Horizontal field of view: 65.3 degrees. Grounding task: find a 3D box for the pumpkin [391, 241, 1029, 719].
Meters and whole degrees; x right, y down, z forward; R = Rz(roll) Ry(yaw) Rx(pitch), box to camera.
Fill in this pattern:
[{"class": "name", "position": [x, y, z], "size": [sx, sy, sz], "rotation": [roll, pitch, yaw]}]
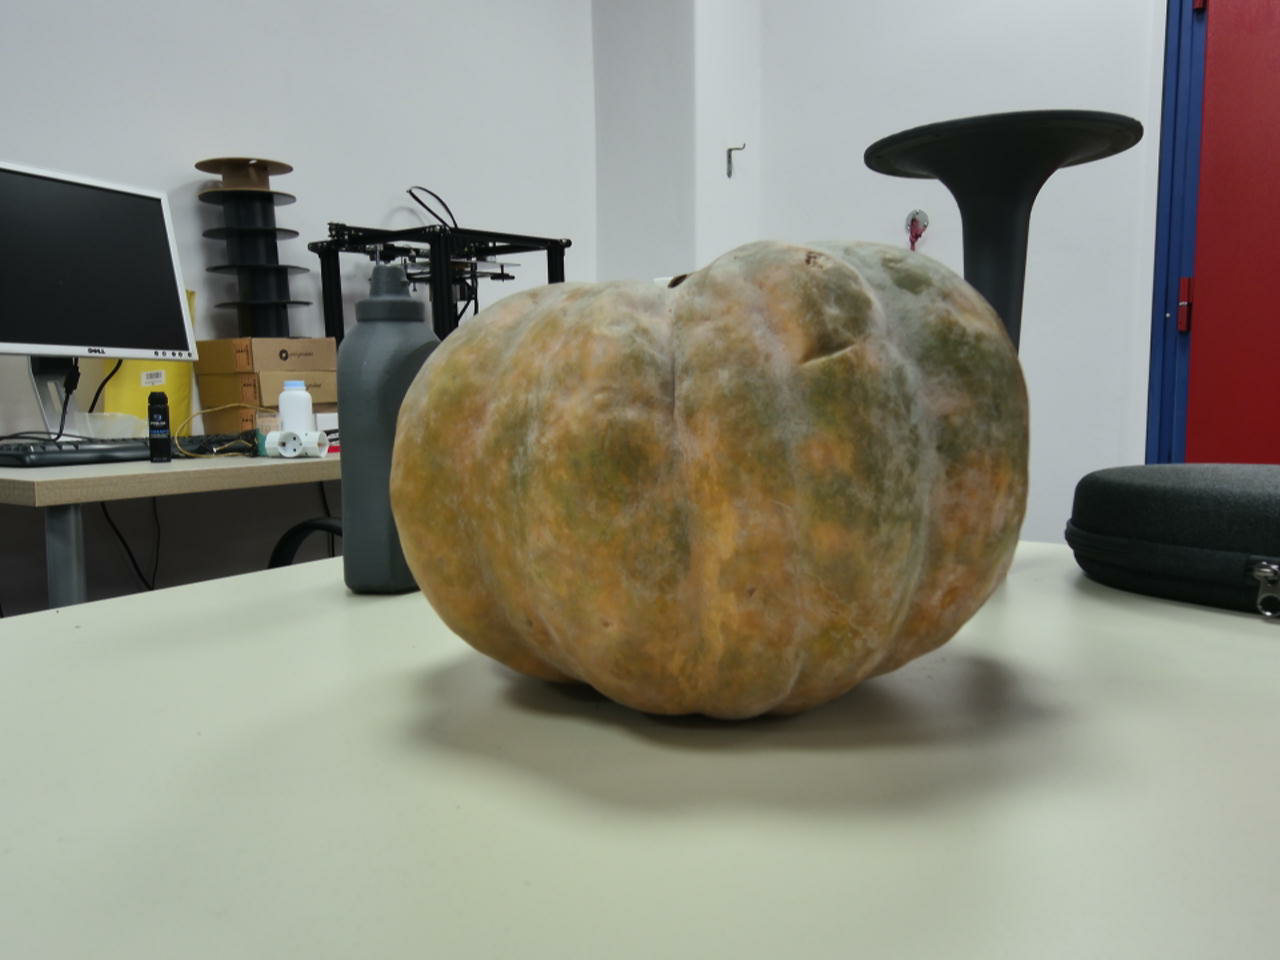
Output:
[{"class": "pumpkin", "position": [0.025, -0.002, 0.404], "size": [0.252, 0.168, 0.252], "rotation": [0, 3, 0]}]
